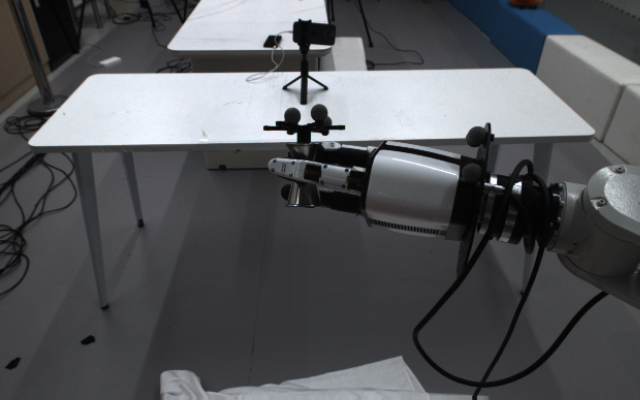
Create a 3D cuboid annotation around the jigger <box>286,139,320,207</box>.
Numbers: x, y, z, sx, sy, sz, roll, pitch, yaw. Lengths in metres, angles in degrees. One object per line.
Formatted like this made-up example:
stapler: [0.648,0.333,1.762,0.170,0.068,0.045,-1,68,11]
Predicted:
jigger: [-0.017,-0.027,0.532,0.043,0.071,0.043,-1,2,0]
